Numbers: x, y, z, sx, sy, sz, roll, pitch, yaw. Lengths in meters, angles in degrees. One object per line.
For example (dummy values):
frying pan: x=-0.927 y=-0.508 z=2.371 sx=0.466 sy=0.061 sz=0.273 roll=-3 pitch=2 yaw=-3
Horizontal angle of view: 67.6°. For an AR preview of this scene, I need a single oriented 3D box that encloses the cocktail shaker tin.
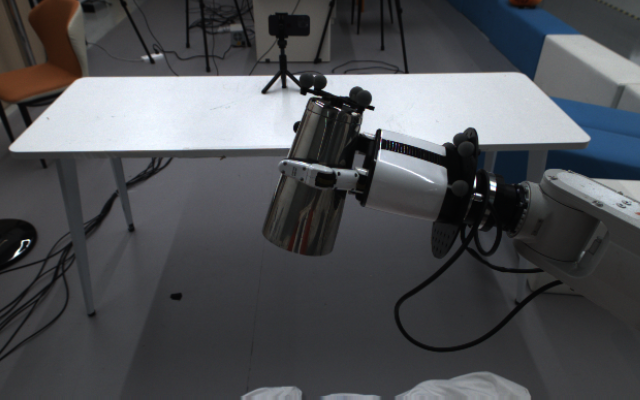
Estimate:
cocktail shaker tin: x=-0.004 y=-0.030 z=0.578 sx=0.093 sy=0.170 sz=0.093 roll=15 pitch=17 yaw=-5
